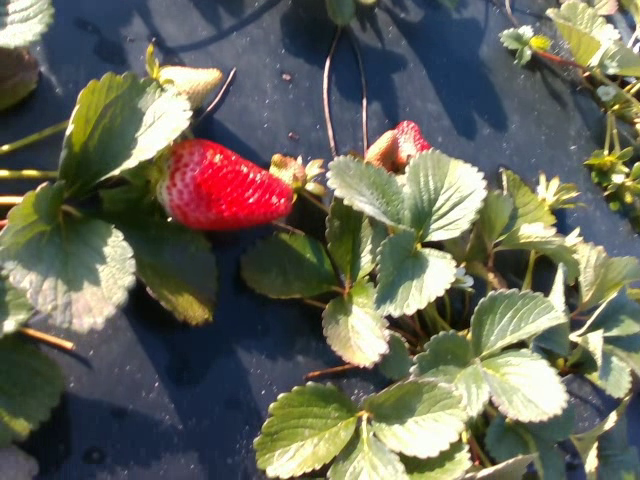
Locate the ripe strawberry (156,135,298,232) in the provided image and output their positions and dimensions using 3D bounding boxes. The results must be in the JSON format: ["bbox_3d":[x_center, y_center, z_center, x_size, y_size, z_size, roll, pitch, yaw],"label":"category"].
[{"bbox_3d":[-0.044,-0.025,0.312,0.072,0.056,0.055,5,26,-9],"label":"ripe strawberry"}]
